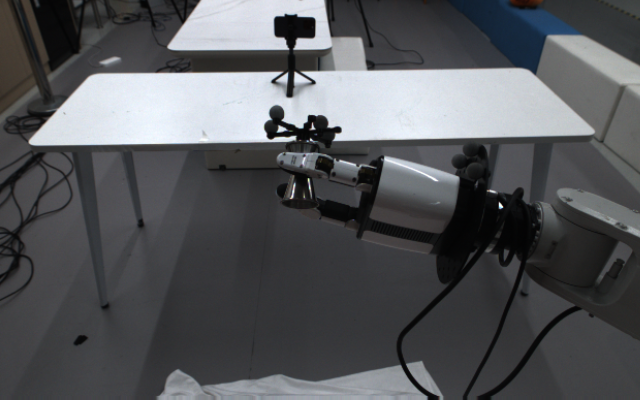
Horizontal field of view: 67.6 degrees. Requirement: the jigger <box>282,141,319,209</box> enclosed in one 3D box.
[{"bbox_3d":[-0.021,-0.029,0.540,0.043,0.043,0.071,3,76,1],"label":"jigger"}]
